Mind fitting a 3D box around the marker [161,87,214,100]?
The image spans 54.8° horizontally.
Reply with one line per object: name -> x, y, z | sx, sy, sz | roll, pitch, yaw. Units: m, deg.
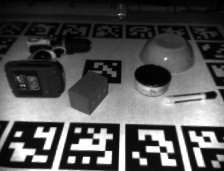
marker -> 0.173, 0.018, 0.490 | 0.121, 0.020, 0.019 | -5, 45, -7

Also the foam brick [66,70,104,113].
foam brick -> -0.058, 0.013, 0.478 | 0.051, 0.053, 0.078 | 19, 47, 18

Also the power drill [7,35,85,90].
power drill -> -0.169, -0.069, 0.557 | 0.185, 0.057, 0.186 | 3, 40, -3

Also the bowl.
bowl -> 0.144, -0.111, 0.618 | 0.161, 0.055, 0.161 | -1, 36, 2

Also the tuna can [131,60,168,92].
tuna can -> 0.089, -0.024, 0.524 | 0.086, 0.034, 0.085 | 3, 43, -2
